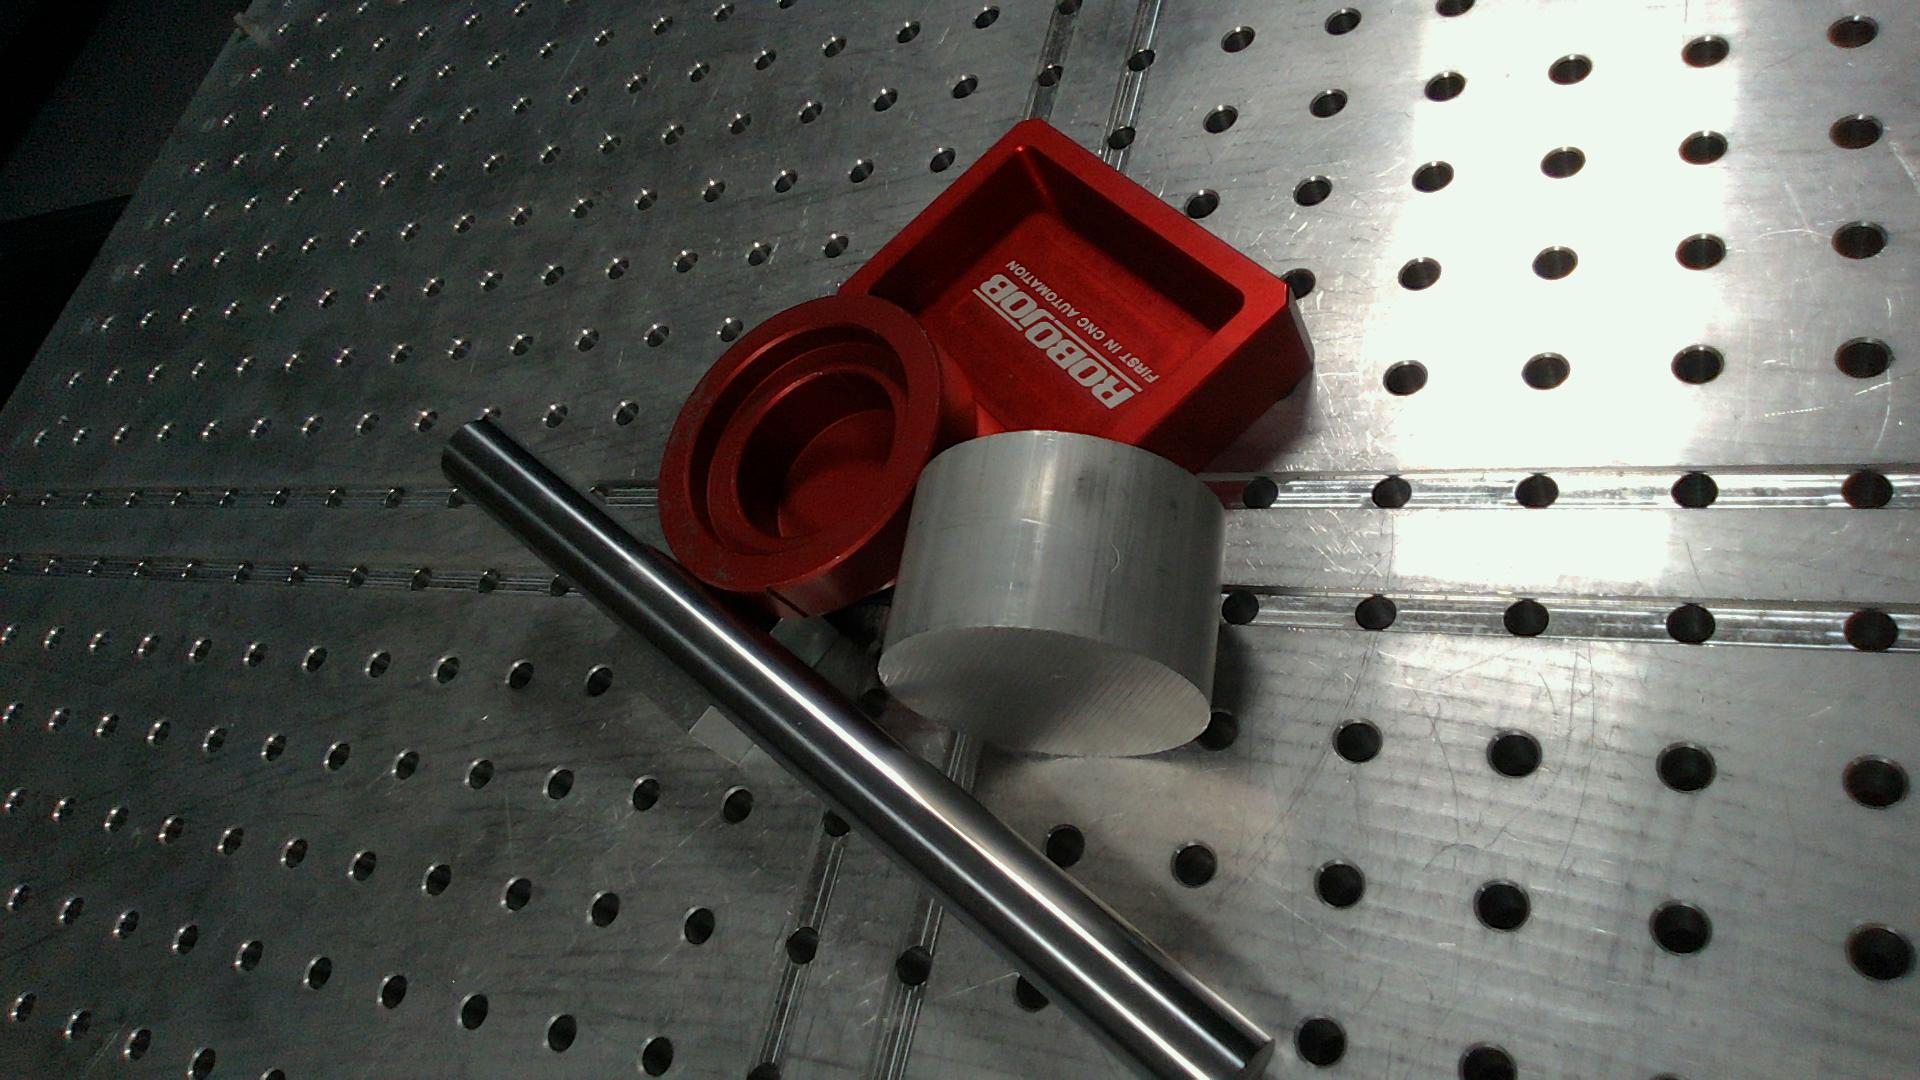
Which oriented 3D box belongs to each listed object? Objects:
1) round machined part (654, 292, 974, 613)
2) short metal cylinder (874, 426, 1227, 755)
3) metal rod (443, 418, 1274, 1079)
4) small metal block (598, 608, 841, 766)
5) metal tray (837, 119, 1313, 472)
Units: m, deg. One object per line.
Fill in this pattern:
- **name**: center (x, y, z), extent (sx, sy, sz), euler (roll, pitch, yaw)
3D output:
- **round machined part**: center (-0.039, -0.022, 0.410), extent (0.098, 0.042, 0.098), euler (-15, 55, 23)
- **short metal cylinder**: center (0.023, 0.015, 0.338), extent (0.080, 0.080, 0.050), euler (-4, 60, 27)
- **metal rod**: center (-0.048, 0.045, 0.369), extent (0.299, 0.025, 0.025), euler (34, 81, 30)
- **small metal block**: center (-0.073, 0.031, 0.418), extent (0.050, 0.025, 0.050), euler (32, 79, 38)
- **metal tray**: center (0.030, -0.066, 0.417), extent (0.090, 0.030, 0.130), euler (-42, 50, -1)
